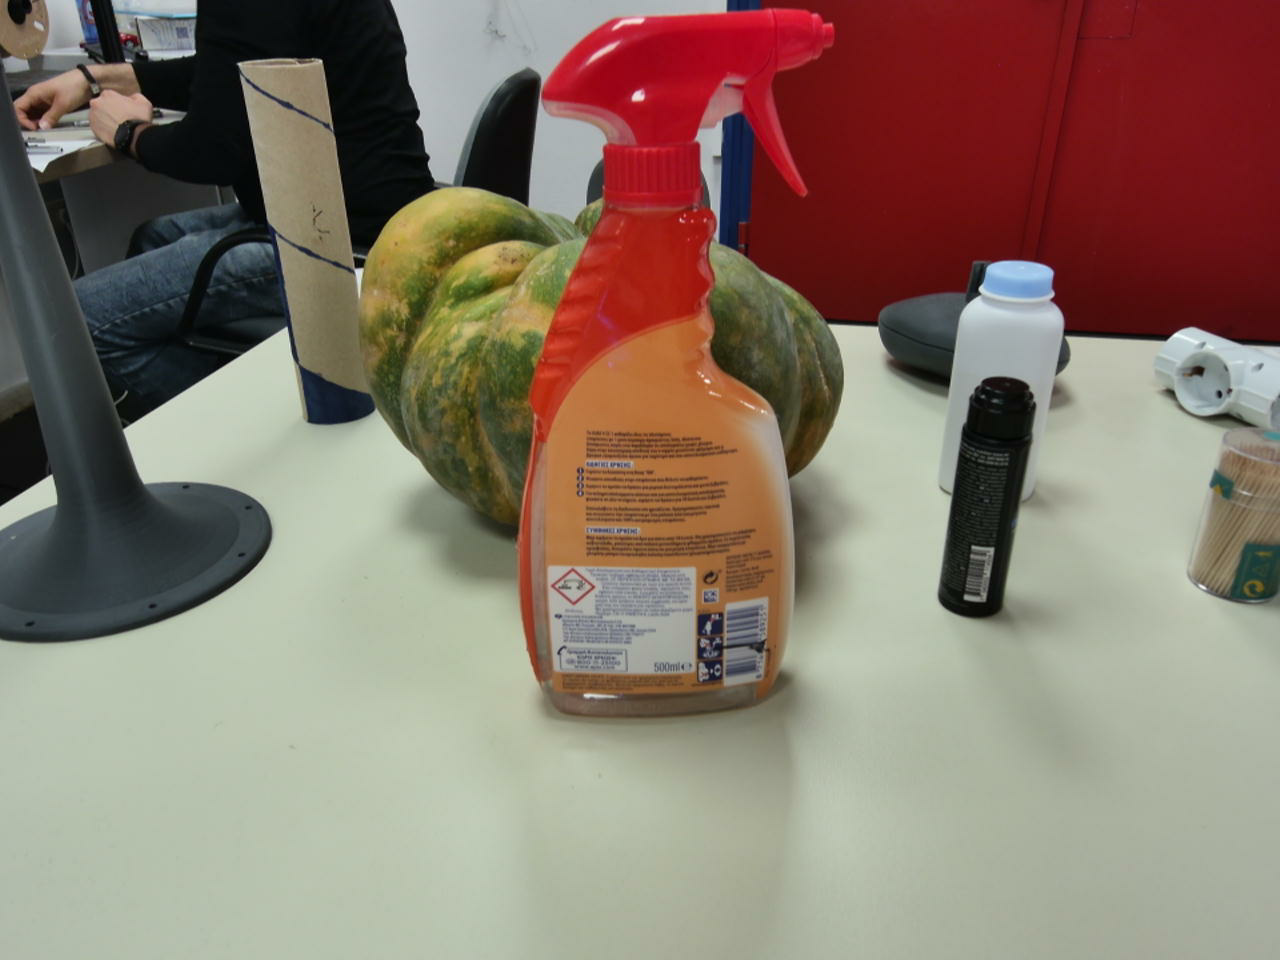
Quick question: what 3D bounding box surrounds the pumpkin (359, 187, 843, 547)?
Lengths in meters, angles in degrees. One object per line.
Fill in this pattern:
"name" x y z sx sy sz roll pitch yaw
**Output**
"pumpkin" -0.021 -0.070 0.545 0.237 0.173 0.270 -20 32 -36
